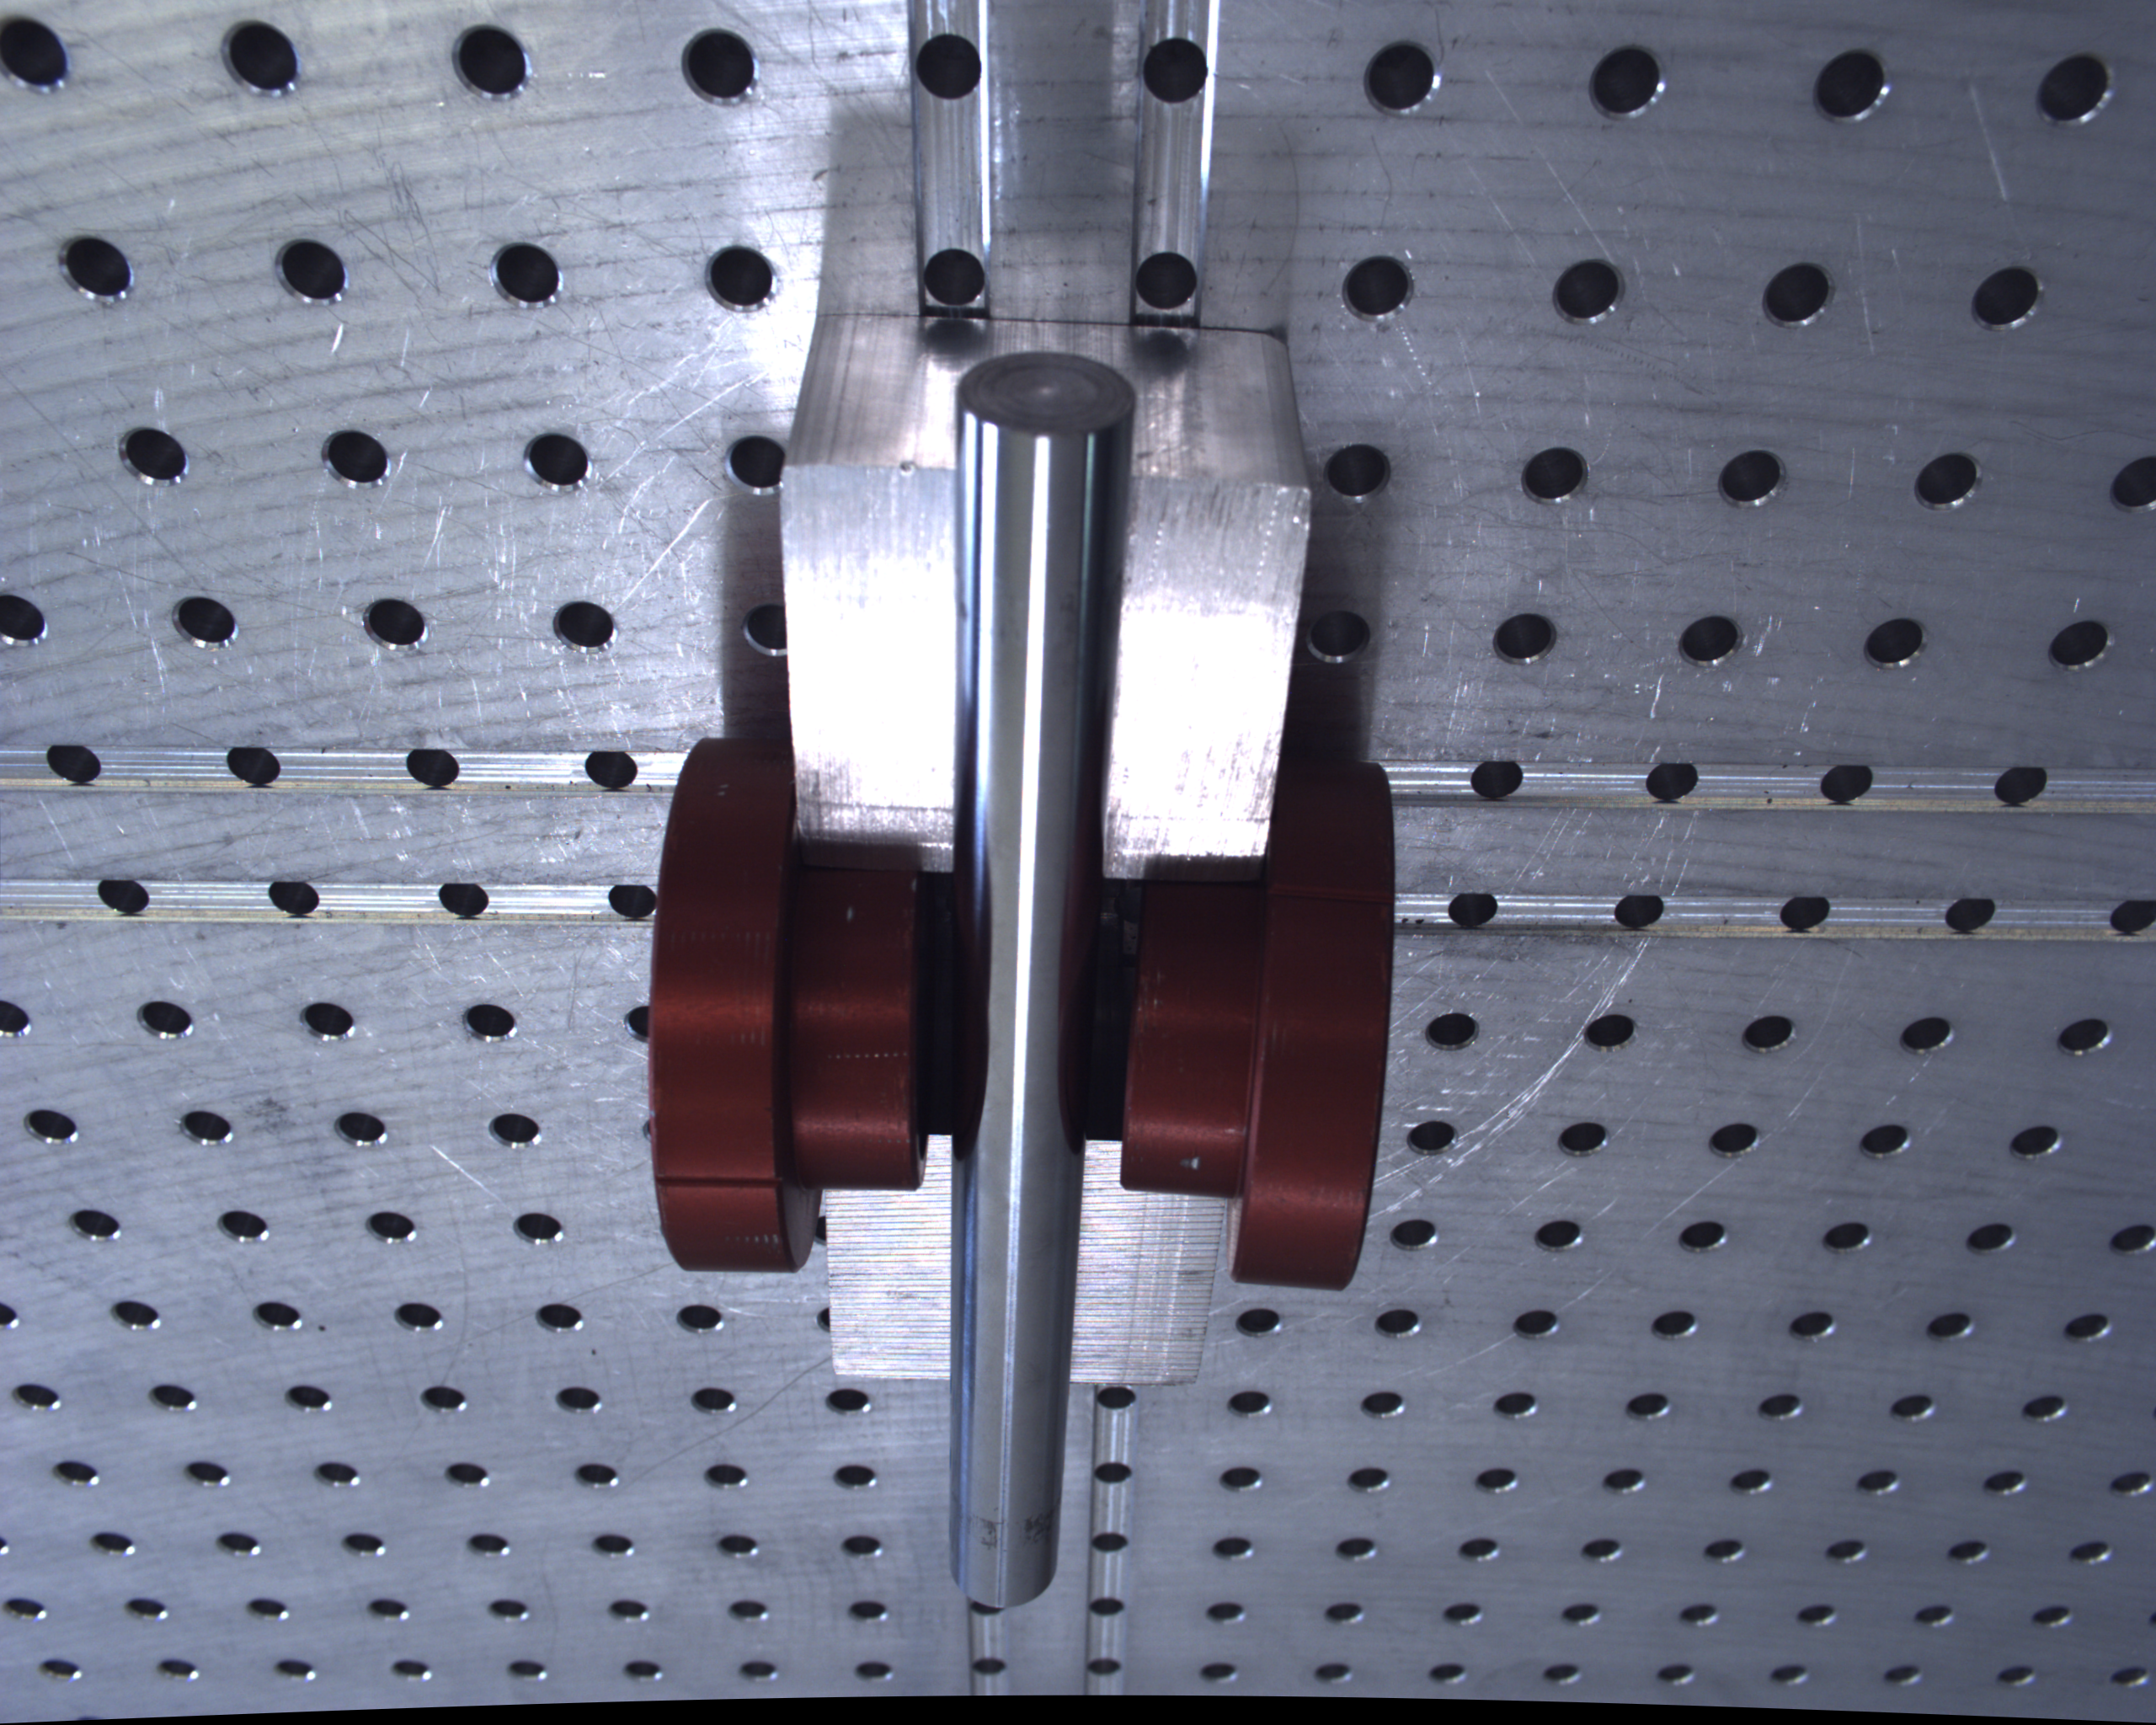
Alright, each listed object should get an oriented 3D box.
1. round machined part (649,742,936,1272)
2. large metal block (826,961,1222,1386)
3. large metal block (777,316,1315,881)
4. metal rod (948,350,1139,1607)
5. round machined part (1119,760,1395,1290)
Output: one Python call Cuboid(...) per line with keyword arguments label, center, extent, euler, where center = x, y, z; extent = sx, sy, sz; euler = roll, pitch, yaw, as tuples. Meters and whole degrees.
Cuboid(label="round machined part", center=(-0.049, 0.027, 0.385), extent=(0.042, 0.098, 0.097), euler=(2, 130, -1))
Cuboid(label="large metal block", center=(-0.012, 0.068, 0.452), extent=(0.081, 0.050, 0.079), euler=(2, 130, -2))
Cuboid(label="large metal block", center=(-0.006, -0.044, 0.357), extent=(0.081, 0.050, 0.079), euler=(2, 130, -2))
Cuboid(label="metal rod", center=(-0.011, 0.048, 0.386), extent=(0.025, 0.025, 0.298), euler=(2, 130, -2))
Cuboid(label="round machined part", center=(0.031, 0.029, 0.388), extent=(0.042, 0.098, 0.097), euler=(4, 130, 2))
